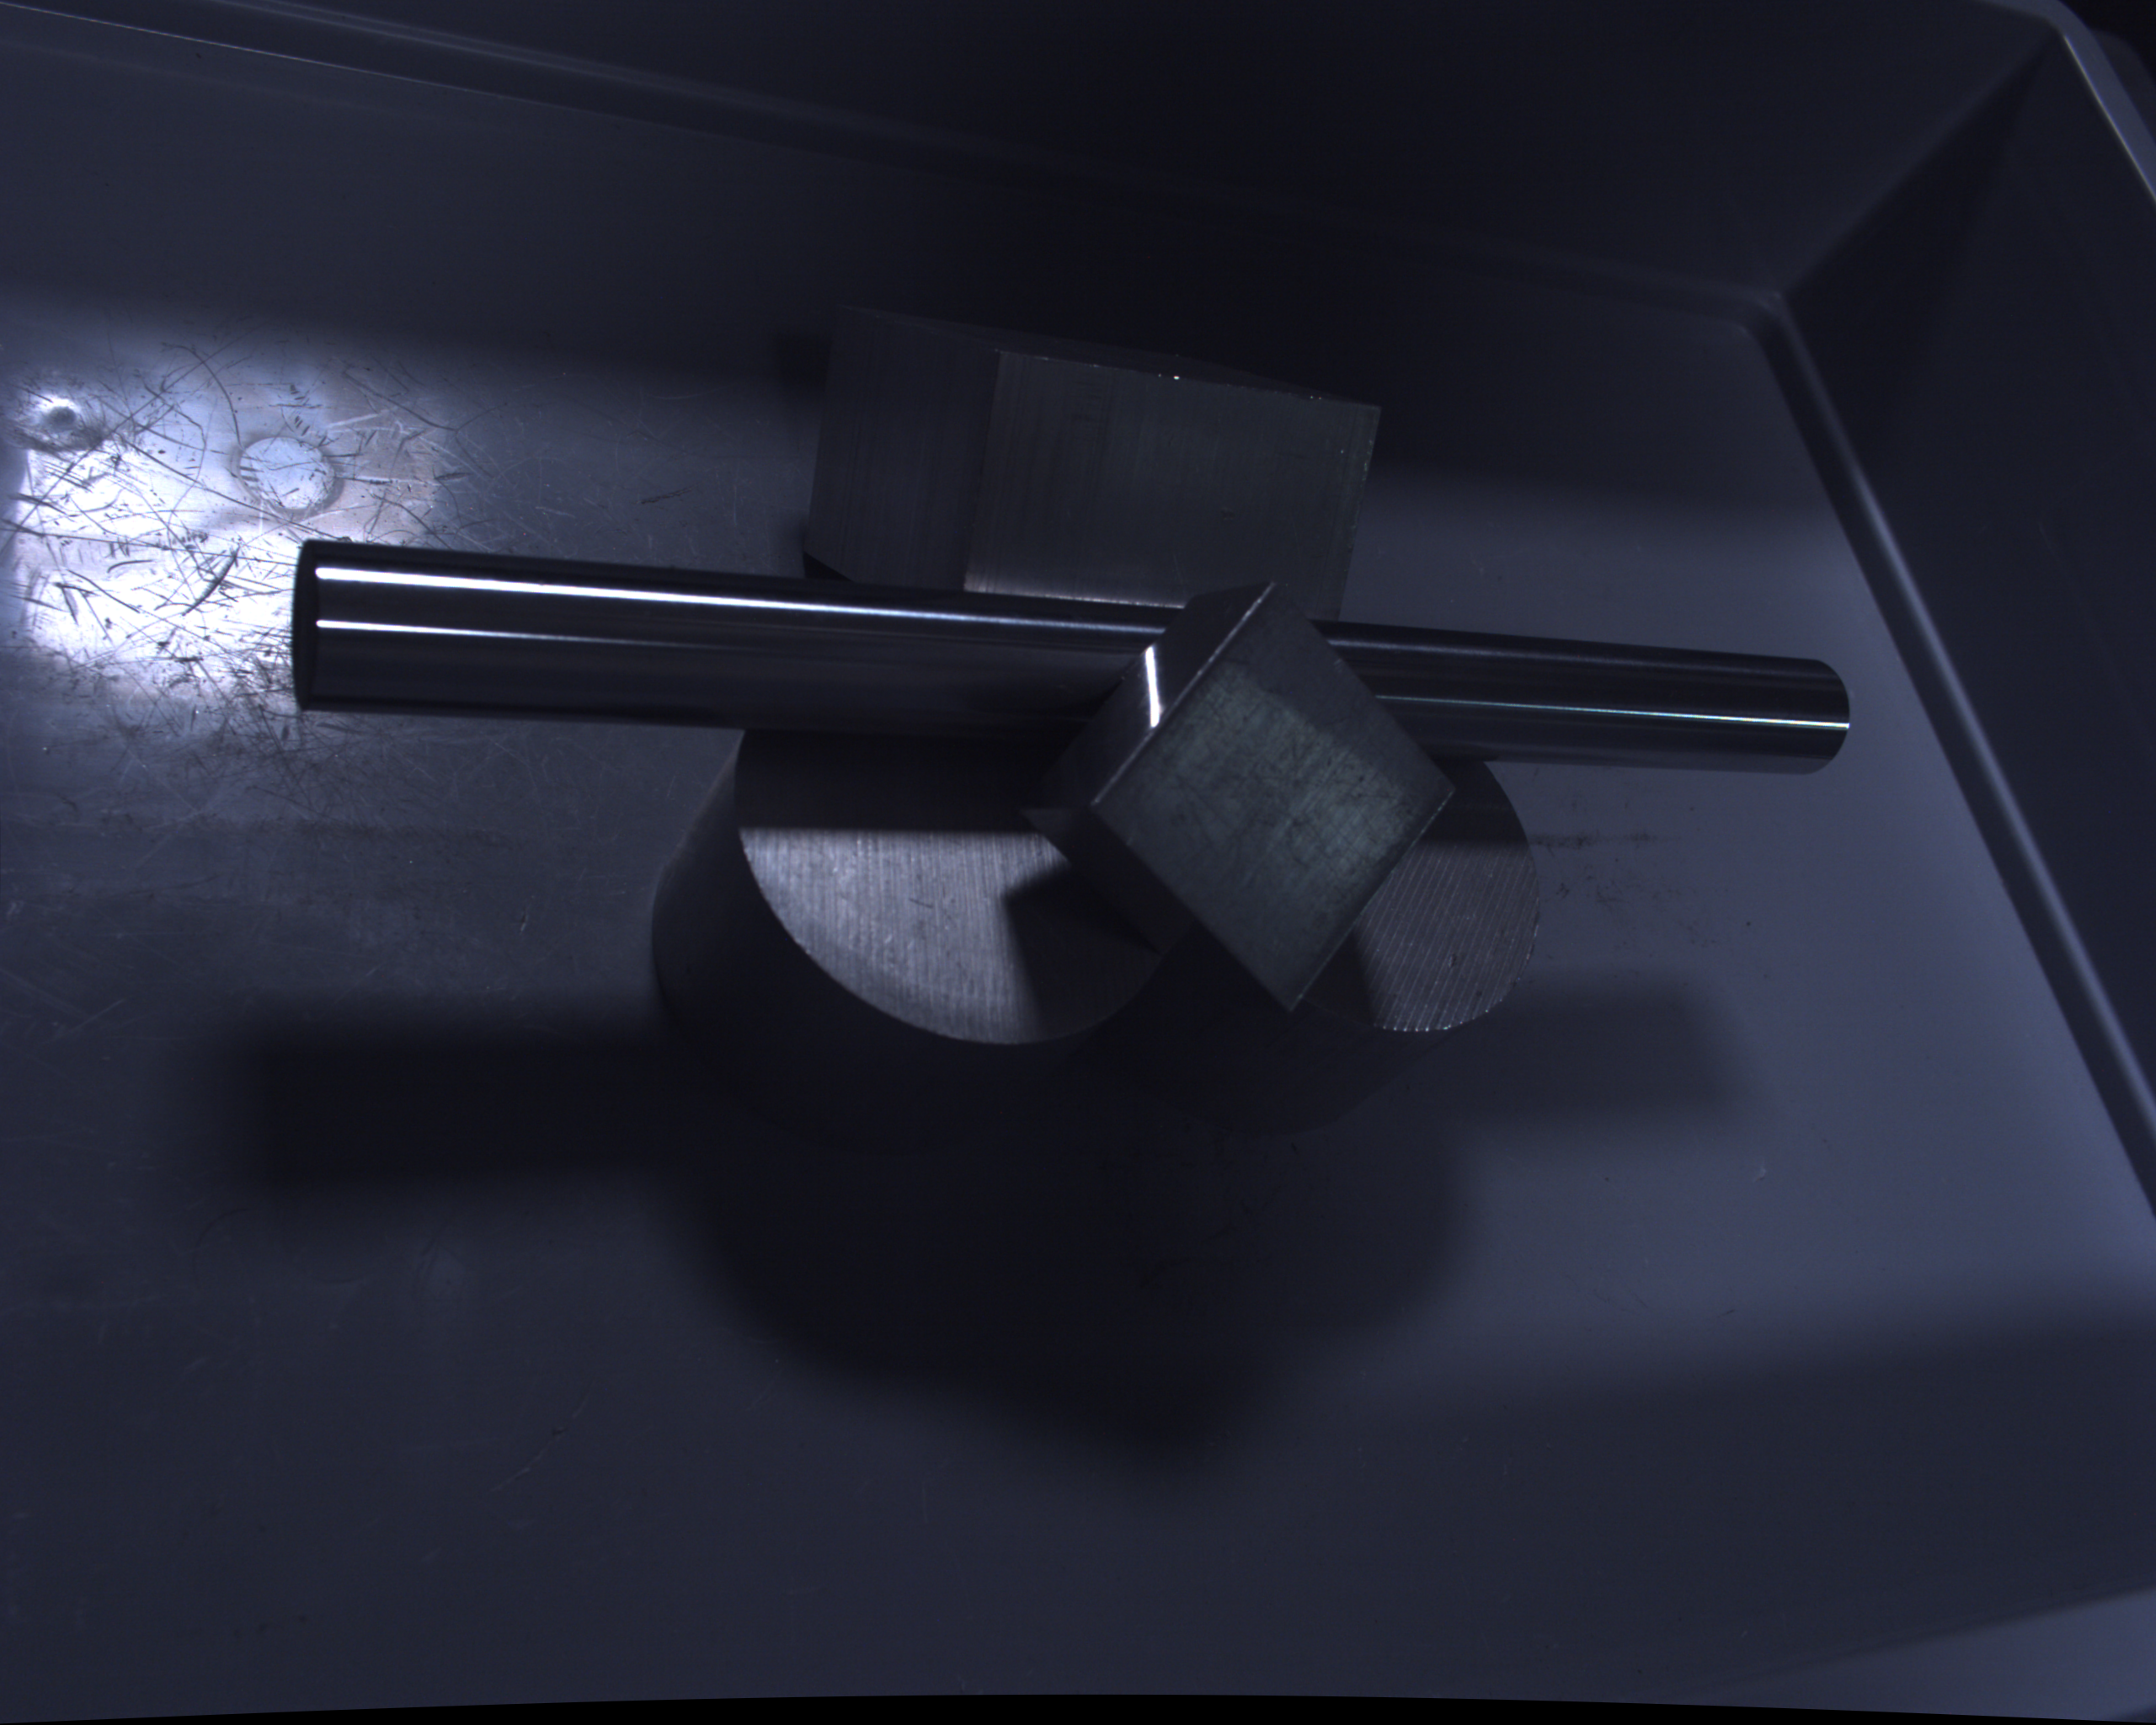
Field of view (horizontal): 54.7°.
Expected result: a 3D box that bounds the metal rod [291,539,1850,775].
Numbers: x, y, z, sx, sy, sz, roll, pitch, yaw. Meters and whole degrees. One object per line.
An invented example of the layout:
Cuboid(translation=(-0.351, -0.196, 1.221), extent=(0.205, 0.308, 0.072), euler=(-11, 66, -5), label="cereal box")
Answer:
Cuboid(translation=(0.021, -0.033, 0.373), extent=(0.303, 0.025, 0.025), euler=(1, 62, -28), label="metal rod")

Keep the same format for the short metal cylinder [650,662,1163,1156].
Cuboid(translation=(-0.030, 0.006, 0.370), extent=(0.081, 0.050, 0.080), euler=(14, 56, -21), label="short metal cylinder")

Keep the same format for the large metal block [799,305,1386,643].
Cuboid(translation=(0.000, -0.074, 0.408), extent=(0.081, 0.050, 0.080), euler=(1, 18, -28), label="large metal block")

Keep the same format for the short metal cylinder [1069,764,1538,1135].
Cuboid(translation=(0.042, 0.007, 0.408), extent=(0.081, 0.050, 0.080), euler=(14, 56, -21), label="short metal cylinder")

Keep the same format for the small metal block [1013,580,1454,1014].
Cuboid(translation=(0.027, -0.011, 0.348), extent=(0.050, 0.025, 0.050), euler=(45, 70, -21), label="small metal block")
